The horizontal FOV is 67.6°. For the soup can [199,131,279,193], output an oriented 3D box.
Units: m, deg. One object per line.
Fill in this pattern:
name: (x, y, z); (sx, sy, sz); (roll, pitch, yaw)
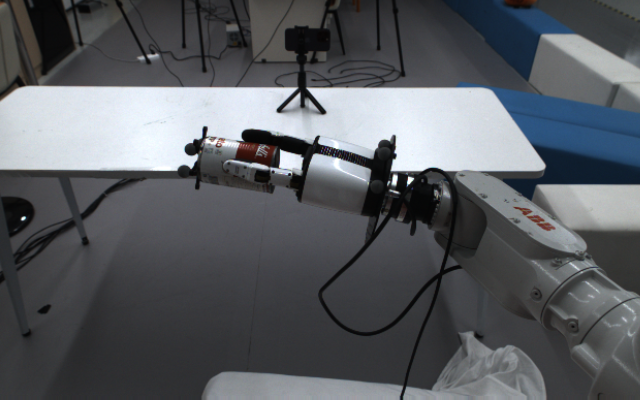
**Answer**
soup can: (-0.111, -0.049, 0.677); (0.101, 0.067, 0.067); (9, 35, 2)
